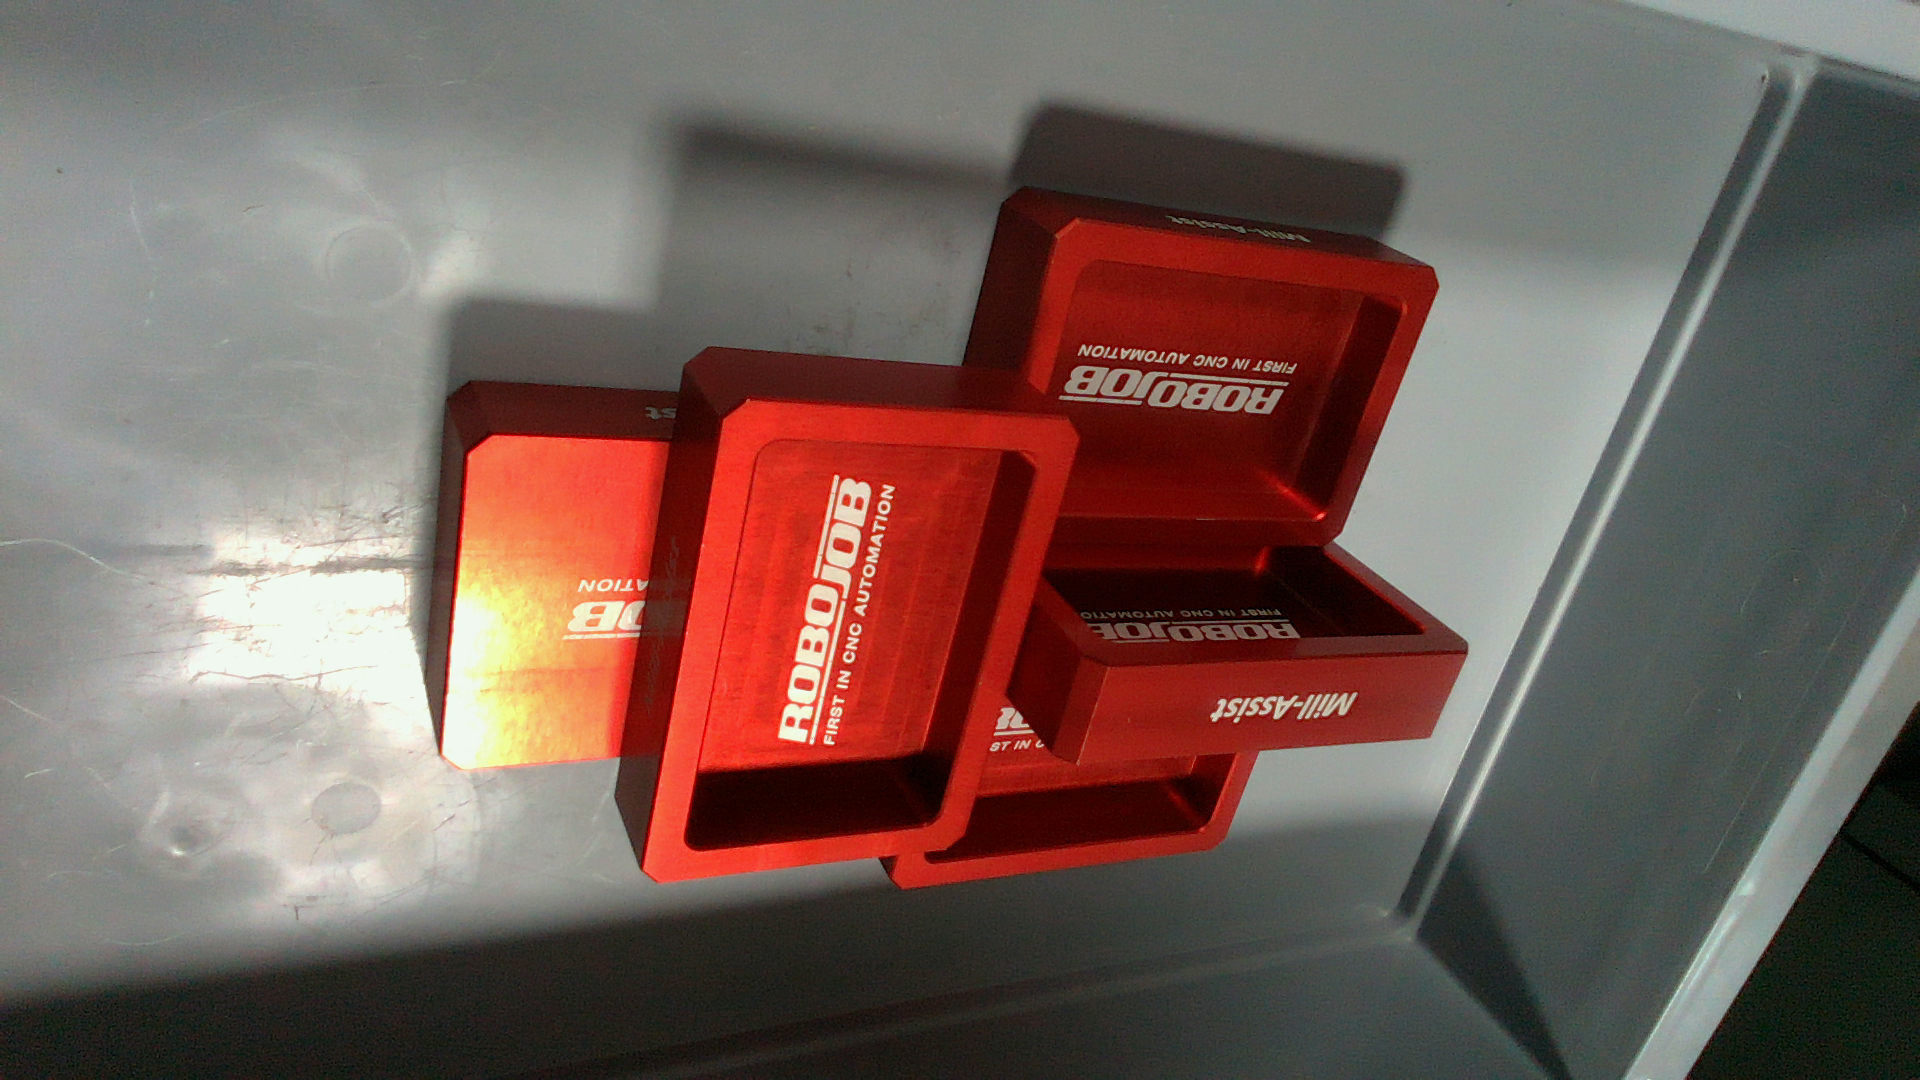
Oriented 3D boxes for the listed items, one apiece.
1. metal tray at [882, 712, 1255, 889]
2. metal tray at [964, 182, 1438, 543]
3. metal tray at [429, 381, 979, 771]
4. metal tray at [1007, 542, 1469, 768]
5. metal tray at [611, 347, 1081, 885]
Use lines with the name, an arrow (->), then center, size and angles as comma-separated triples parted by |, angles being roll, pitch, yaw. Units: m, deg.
metal tray -> 0.039, 0.061, 0.443 | 0.130, 0.030, 0.090 | 0, 118, -29
metal tray -> 0.065, -0.046, 0.392 | 0.130, 0.030, 0.090 | 1, 118, -29
metal tray -> -0.064, 0.010, 0.354 | 0.130, 0.030, 0.090 | 0, 118, -28
metal tray -> 0.067, 0.022, 0.395 | 0.130, 0.090, 0.030 | 1, 118, -29
metal tray -> -0.031, 0.021, 0.341 | 0.090, 0.030, 0.130 | 1, 118, -29
